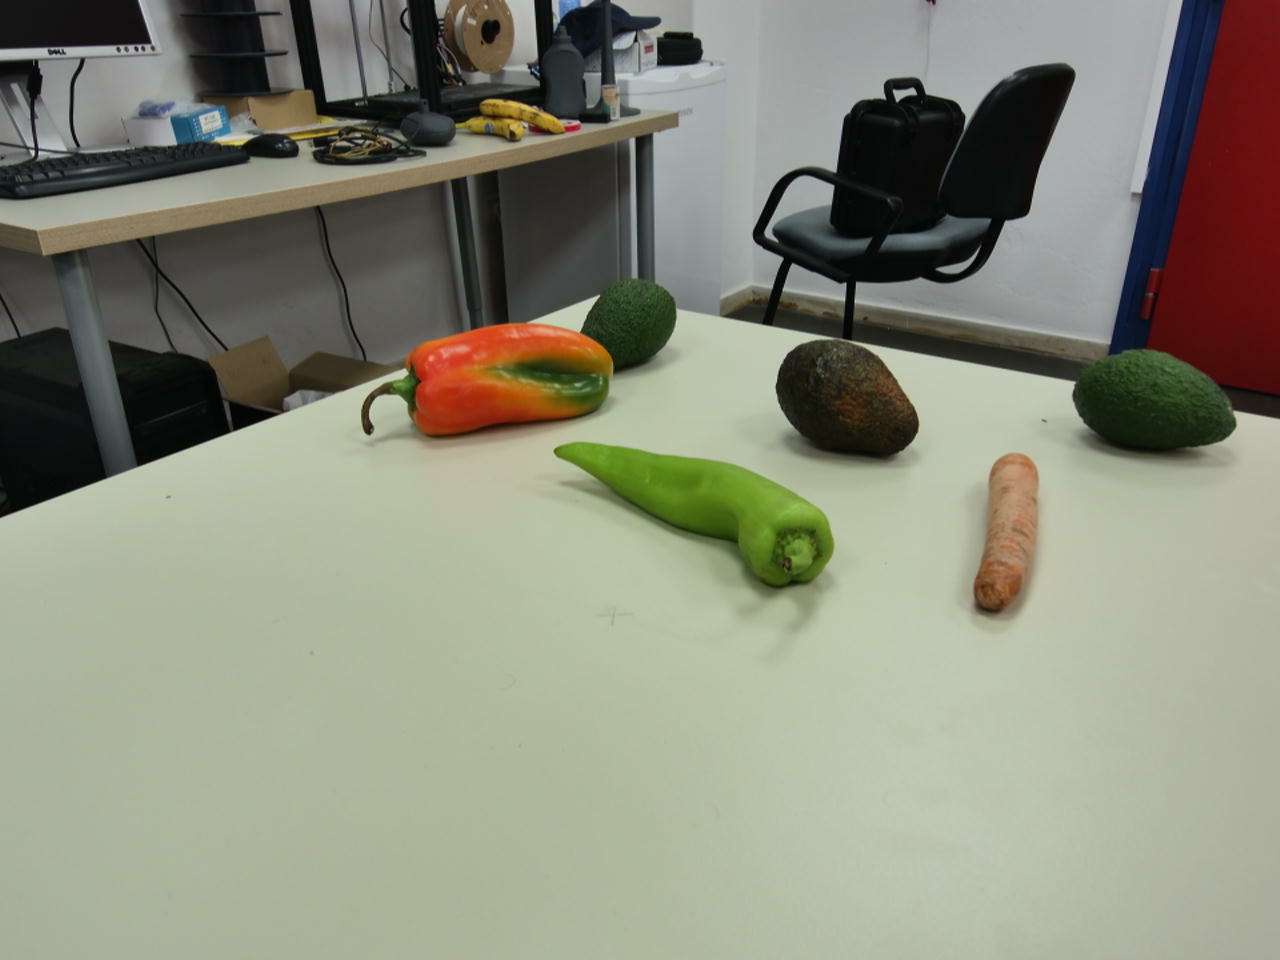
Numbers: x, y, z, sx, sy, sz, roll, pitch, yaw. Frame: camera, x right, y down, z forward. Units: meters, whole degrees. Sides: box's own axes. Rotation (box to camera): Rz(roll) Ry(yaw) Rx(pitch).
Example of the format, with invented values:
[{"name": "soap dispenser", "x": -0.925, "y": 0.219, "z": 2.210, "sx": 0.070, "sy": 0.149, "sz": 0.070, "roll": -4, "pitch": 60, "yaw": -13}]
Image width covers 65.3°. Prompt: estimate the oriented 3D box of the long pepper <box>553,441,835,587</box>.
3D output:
[{"name": "long pepper", "x": 0.034, "y": 0.009, "z": 0.556, "sx": 0.065, "sy": 0.045, "sz": 0.205, "roll": -17, "pitch": 29, "yaw": -33}]
